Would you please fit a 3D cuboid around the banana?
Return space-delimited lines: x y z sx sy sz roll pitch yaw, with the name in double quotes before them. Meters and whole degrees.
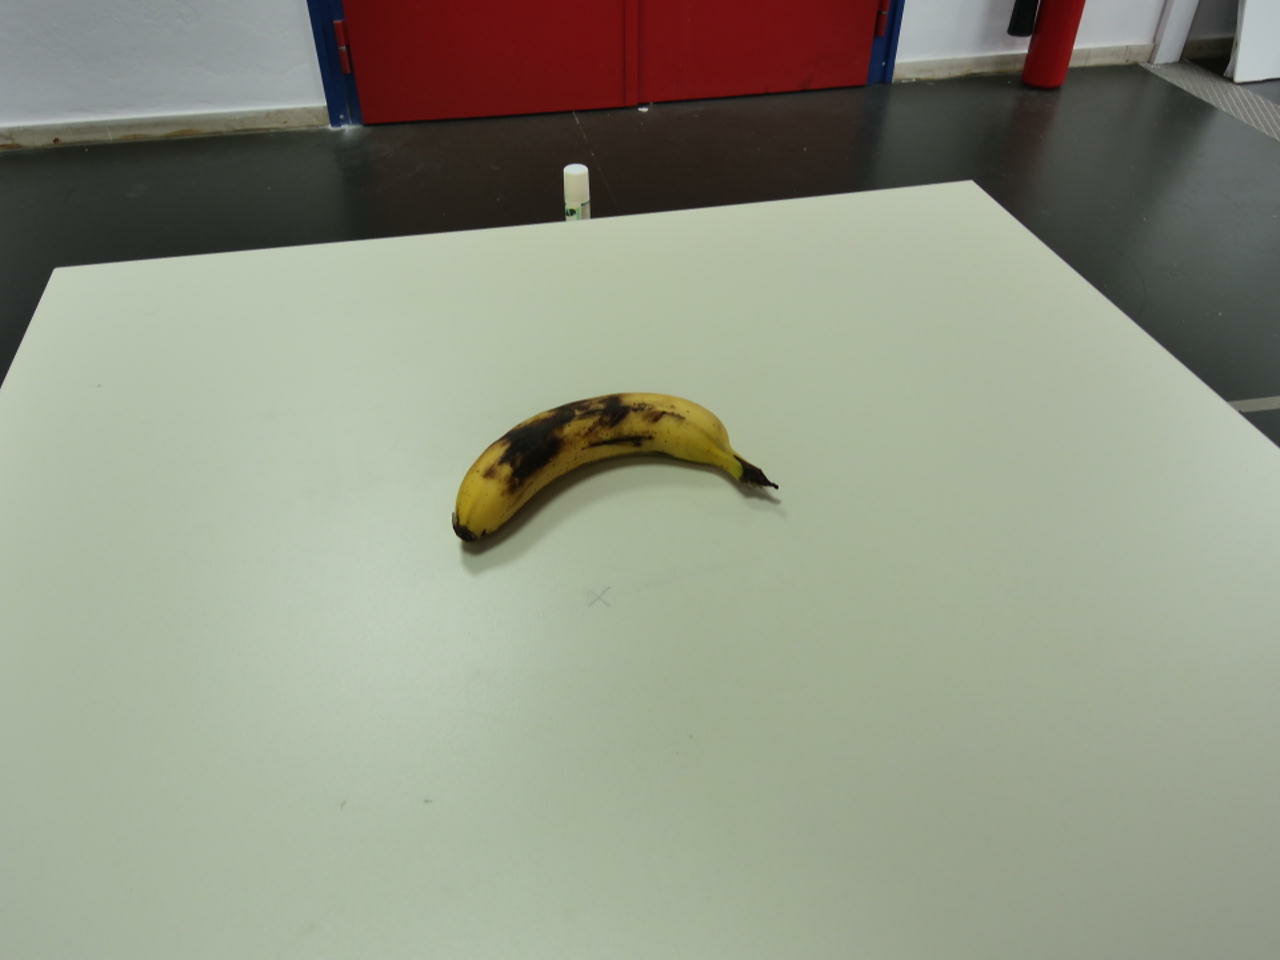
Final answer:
"banana" -0.023 -0.015 0.598 0.187 0.039 0.094 -9 40 -11
